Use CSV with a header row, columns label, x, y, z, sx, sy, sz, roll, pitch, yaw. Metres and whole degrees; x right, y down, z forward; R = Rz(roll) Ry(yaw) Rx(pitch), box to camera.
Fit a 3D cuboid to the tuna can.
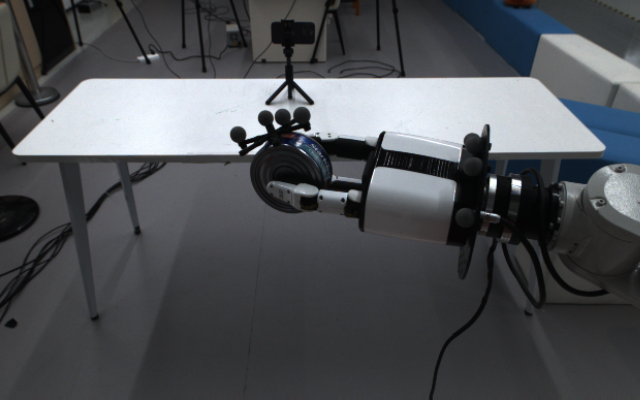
label,x,y,z,sx,sy,sz,roll,pitch,yaw
tuna can,-0.027,-0.023,0.526,0.085,0.085,0.034,11,34,13
